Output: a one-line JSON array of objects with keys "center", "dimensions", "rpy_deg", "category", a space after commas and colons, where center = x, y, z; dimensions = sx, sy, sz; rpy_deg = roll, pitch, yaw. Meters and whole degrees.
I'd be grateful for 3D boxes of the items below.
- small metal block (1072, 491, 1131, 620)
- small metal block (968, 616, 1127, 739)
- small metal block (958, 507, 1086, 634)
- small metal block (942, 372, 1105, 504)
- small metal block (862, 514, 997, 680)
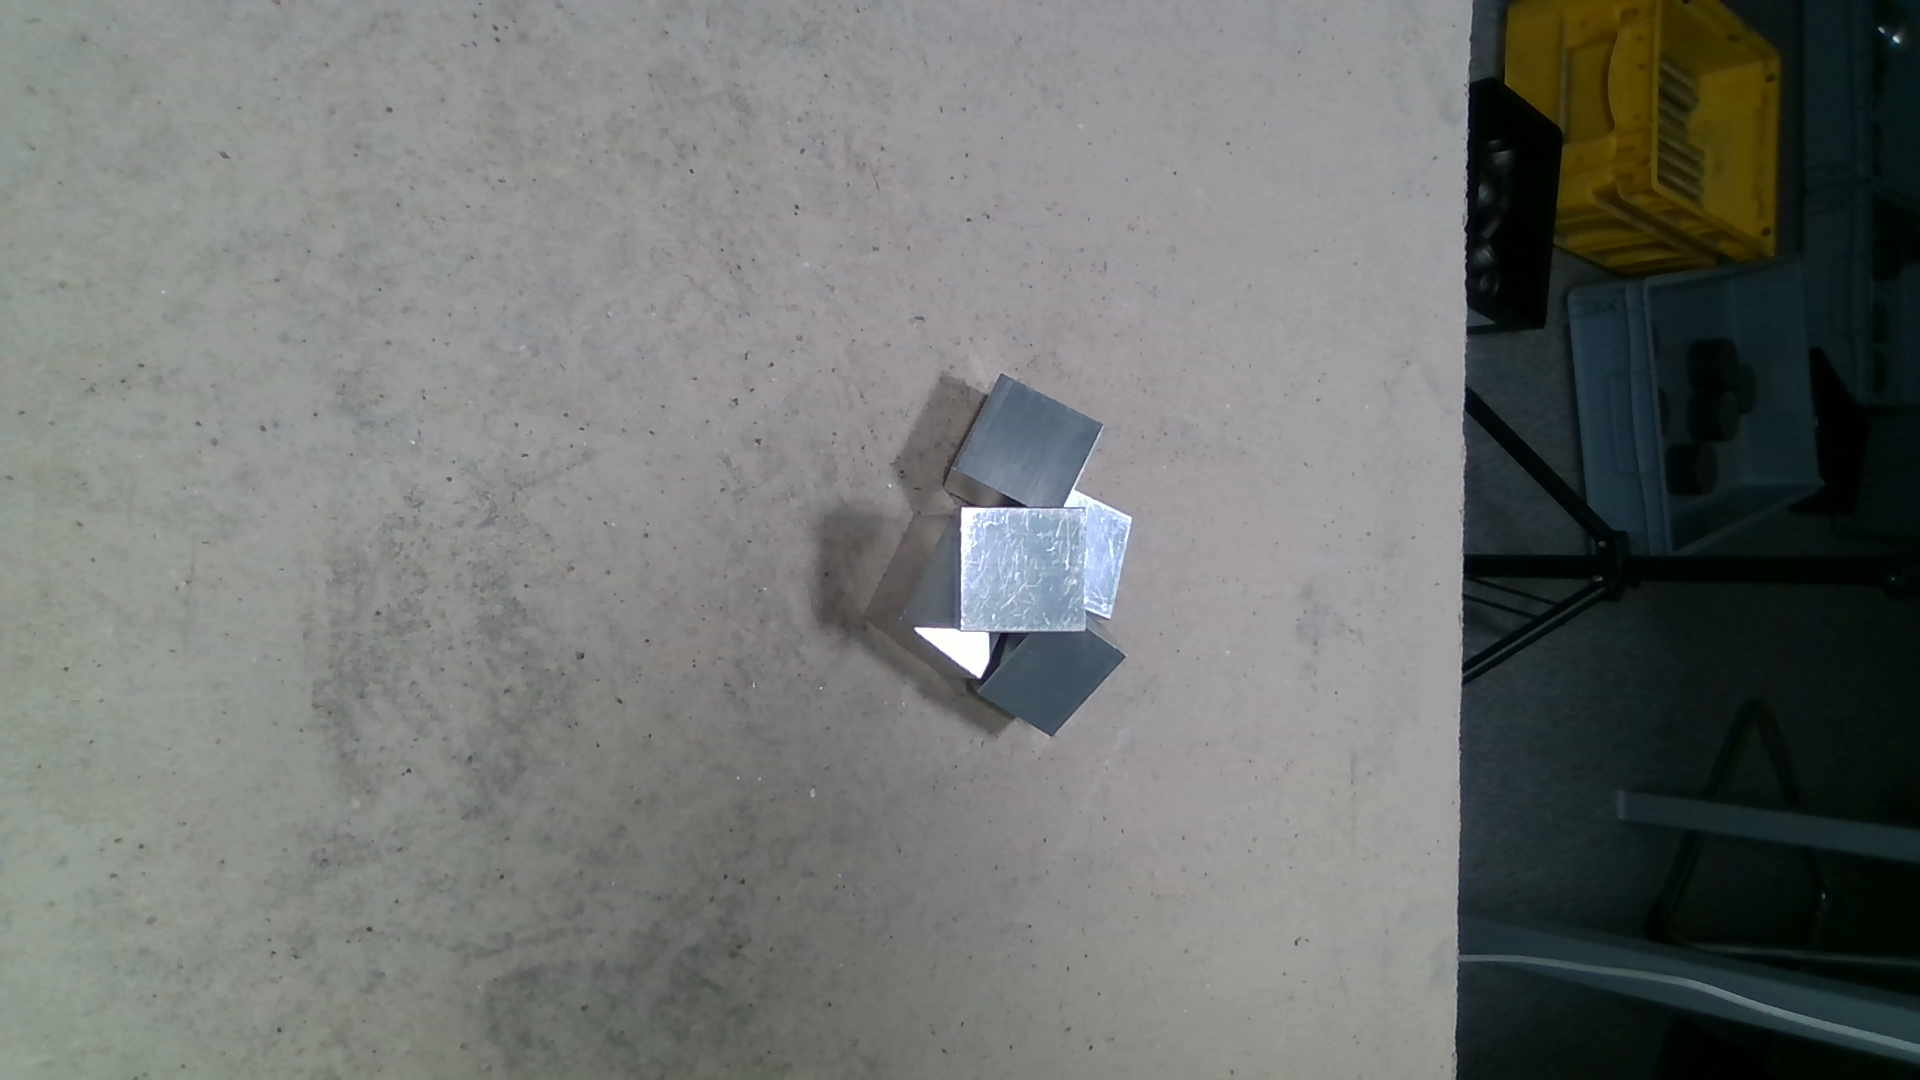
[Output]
[{"center": [0.047, 0.005, 0.624], "dimensions": [0.050, 0.025, 0.050], "rpy_deg": [22, 76, -38], "category": "small metal block"}, {"center": [0.035, 0.051, 0.599], "dimensions": [0.050, 0.025, 0.050], "rpy_deg": [35, 102, -35], "category": "small metal block"}, {"center": [0.024, 0.012, 0.556], "dimensions": [0.050, 0.025, 0.050], "rpy_deg": [0, 90, -8], "category": "small metal block"}, {"center": [0.027, -0.036, 0.591], "dimensions": [0.050, 0.025, 0.050], "rpy_deg": [27, 70, 1], "category": "small metal block"}, {"center": [-0.006, 0.024, 0.579], "dimensions": [0.050, 0.025, 0.050], "rpy_deg": [40, 66, -33], "category": "small metal block"}]
